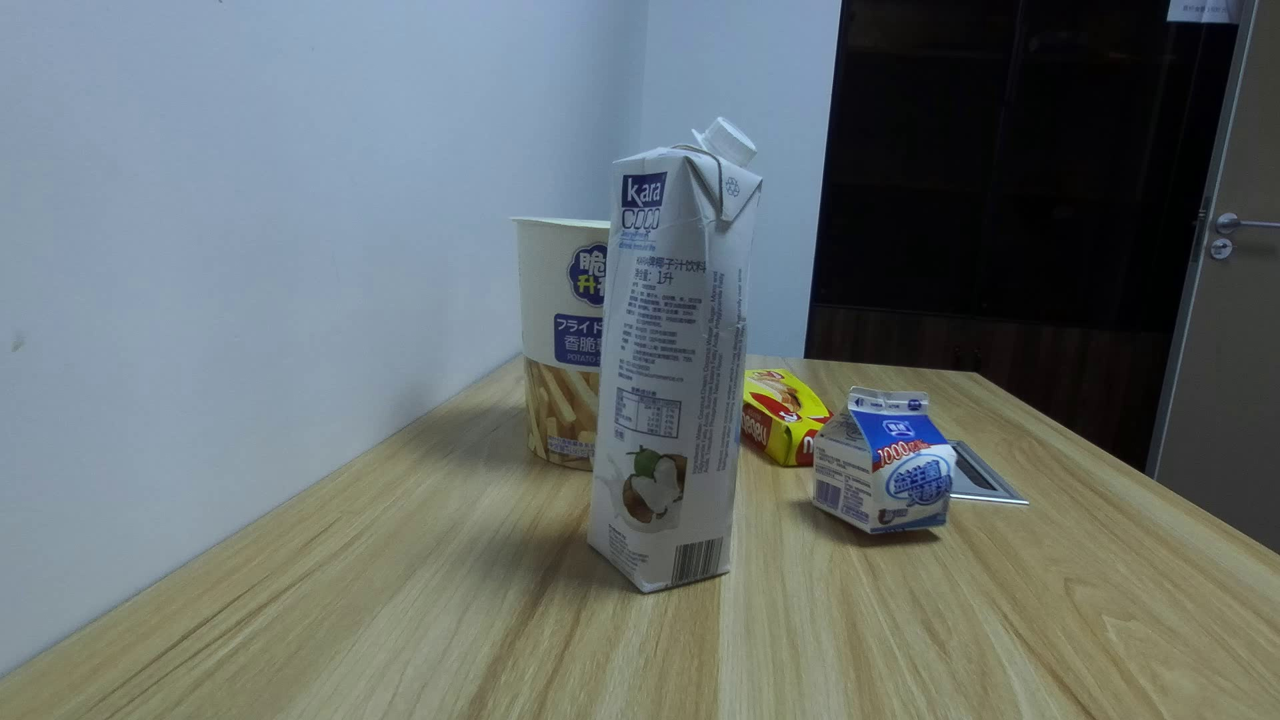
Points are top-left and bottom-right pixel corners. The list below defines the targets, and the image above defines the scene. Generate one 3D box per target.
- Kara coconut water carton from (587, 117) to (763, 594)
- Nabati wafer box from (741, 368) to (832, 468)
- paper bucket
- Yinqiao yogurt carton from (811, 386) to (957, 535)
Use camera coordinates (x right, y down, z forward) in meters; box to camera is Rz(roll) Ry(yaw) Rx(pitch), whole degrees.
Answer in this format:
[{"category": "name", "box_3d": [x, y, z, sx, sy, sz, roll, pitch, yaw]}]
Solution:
[{"category": "Kara coconut water carton", "box_3d": [0.022, -0.005, 0.397, 0.079, 0.255, 0.083, 1, 12, -21]}, {"category": "Nabati wafer box", "box_3d": [0.146, 0.053, 0.698, 0.107, 0.042, 0.203, 0, 13, -14]}, {"category": "paper bucket", "box_3d": [-0.029, -0.022, 0.671, 0.198, 0.194, 0.198, 5, 10, -1]}, {"category": "Yinqiao yogurt carton", "box_3d": [0.172, 0.066, 0.491, 0.075, 0.096, 0.080, 1, 5, -20]}]
